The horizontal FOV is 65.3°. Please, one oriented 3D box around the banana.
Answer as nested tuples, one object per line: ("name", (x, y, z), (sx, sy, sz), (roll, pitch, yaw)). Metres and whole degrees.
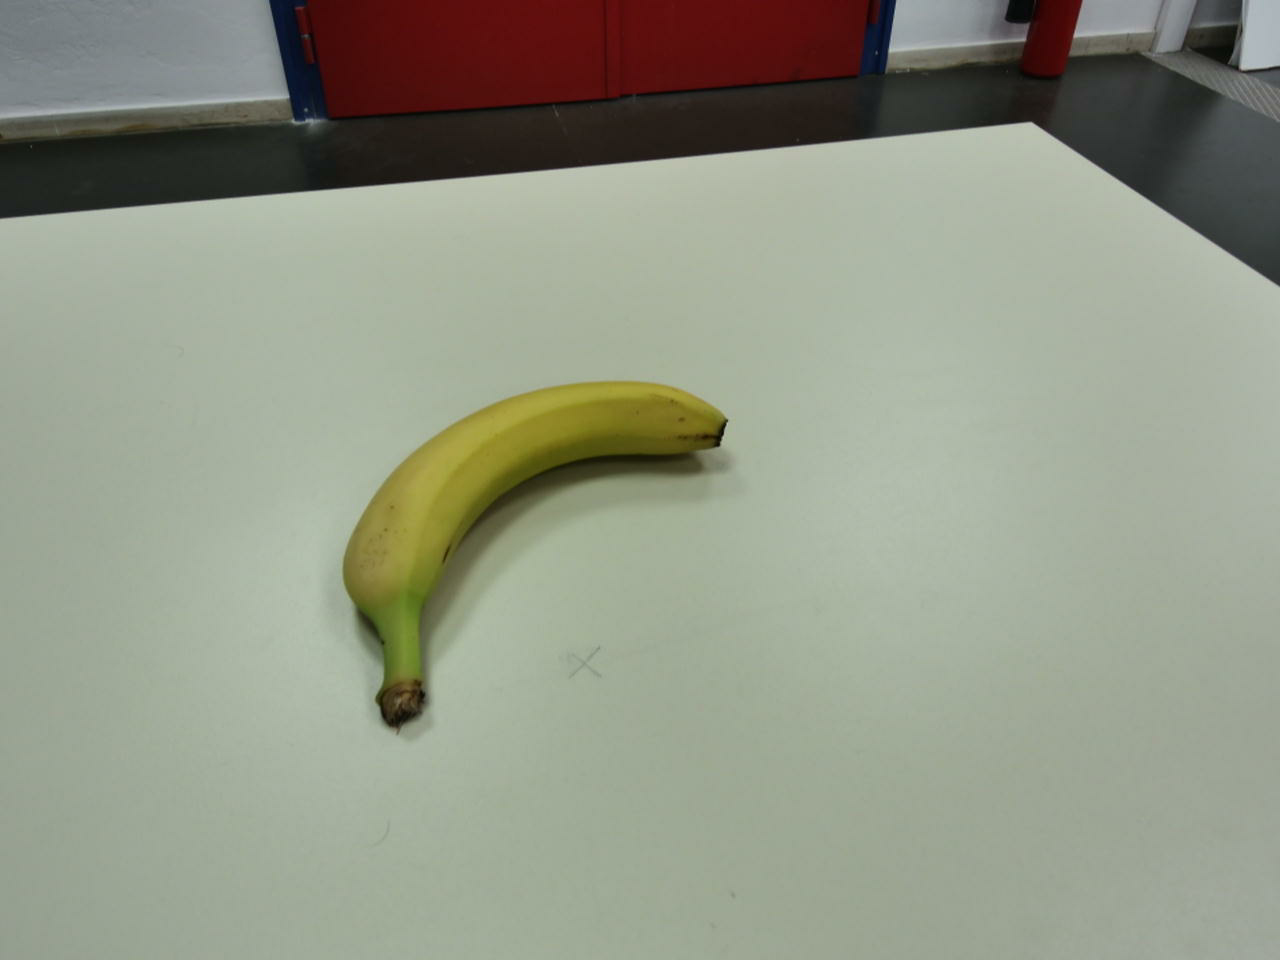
("banana", (-0.055, 0.006, 0.413), (0.094, 0.041, 0.196), (28, 46, 30))
